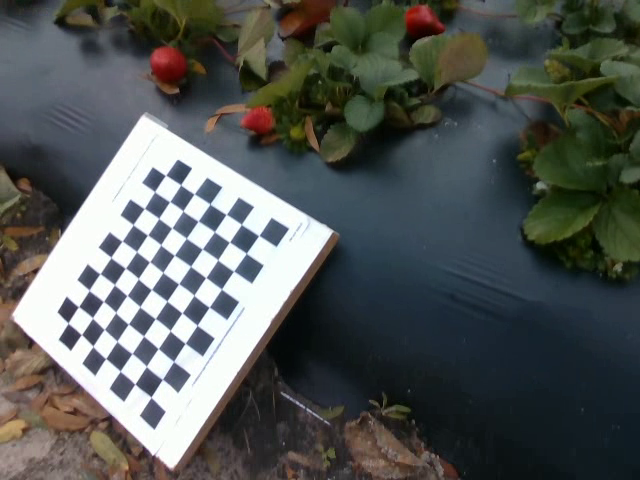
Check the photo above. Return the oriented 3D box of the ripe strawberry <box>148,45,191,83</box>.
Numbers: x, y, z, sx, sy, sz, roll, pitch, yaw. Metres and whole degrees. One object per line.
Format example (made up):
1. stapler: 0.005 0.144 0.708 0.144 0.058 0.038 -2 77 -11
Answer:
1. ripe strawberry: -0.180 -0.222 0.752 0.042 0.047 0.065 38 0 -17

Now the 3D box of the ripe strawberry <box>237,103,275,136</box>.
1. ripe strawberry: -0.064 -0.139 0.695 0.040 0.037 0.042 44 41 21
